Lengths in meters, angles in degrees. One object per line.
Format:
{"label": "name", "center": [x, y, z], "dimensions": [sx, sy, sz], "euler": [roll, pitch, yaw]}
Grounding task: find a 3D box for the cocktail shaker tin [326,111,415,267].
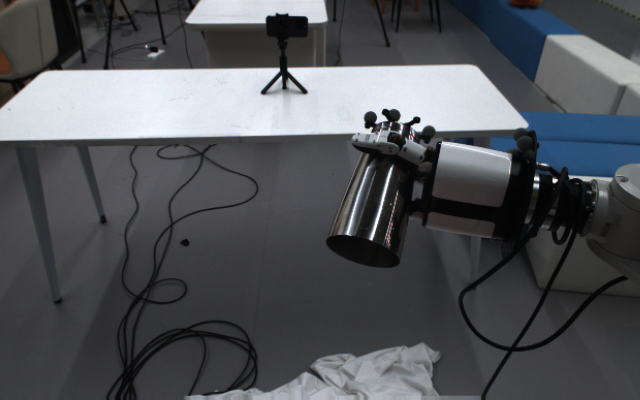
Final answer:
{"label": "cocktail shaker tin", "center": [0.079, -0.015, 0.605], "dimensions": [0.093, 0.093, 0.170], "euler": [12, 65, 14]}
